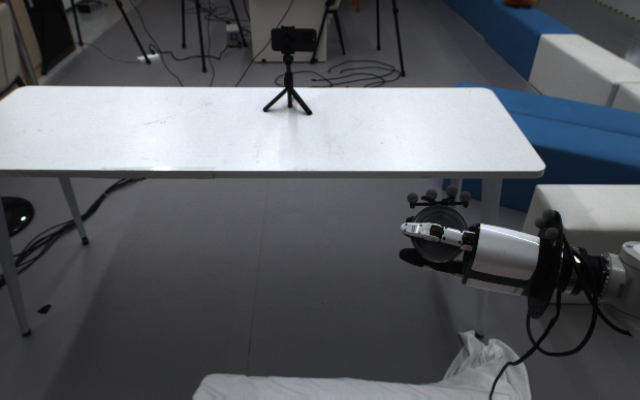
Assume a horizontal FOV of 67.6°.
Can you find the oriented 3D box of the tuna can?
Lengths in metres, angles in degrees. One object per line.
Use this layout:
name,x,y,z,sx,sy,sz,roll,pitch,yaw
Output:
tuna can,0.182,0.050,0.738,0.085,0.034,0.085,-5,70,15
